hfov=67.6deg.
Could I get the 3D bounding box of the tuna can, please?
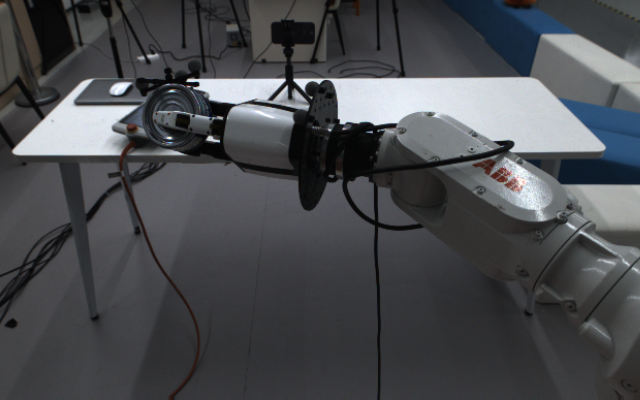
[{"bbox_3d":[-0.185,-0.107,0.629,0.085,0.085,0.034,12,3,14],"label":"tuna can"}]
